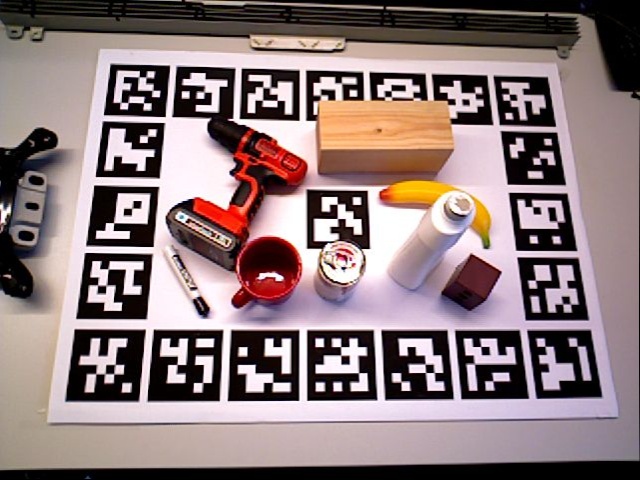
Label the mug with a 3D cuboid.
[{"bbox_3d":[-0.085,0.052,0.774,0.093,0.082,0.116,44,77,9],"label":"mug"}]

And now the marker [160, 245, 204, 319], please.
[{"bbox_3d":[-0.202,0.062,0.801,0.019,0.020,0.121,-27,76,-10],"label":"marker"}]

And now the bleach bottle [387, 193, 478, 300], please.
[{"bbox_3d":[0.154,0.000,0.717,0.068,0.254,0.101,30,69,7],"label":"bleach bottle"}]

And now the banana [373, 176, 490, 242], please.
[{"bbox_3d":[0.182,-0.060,0.849,0.196,0.039,0.074,18,85,0],"label":"banana"}]

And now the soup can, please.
[{"bbox_3d":[0.024,0.047,0.767,0.067,0.104,0.067,2,66,-5],"label":"soup can"}]

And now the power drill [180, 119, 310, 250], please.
[{"bbox_3d":[-0.131,-0.081,0.835,0.184,0.058,0.184,31,71,3],"label":"power drill"}]

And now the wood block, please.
[{"bbox_3d":[0.105,-0.155,0.852,0.205,0.092,0.089,1,72,-3],"label":"wood block"}]

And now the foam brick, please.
[{"bbox_3d":[0.224,0.077,0.790,0.053,0.079,0.050,34,69,10],"label":"foam brick"}]
